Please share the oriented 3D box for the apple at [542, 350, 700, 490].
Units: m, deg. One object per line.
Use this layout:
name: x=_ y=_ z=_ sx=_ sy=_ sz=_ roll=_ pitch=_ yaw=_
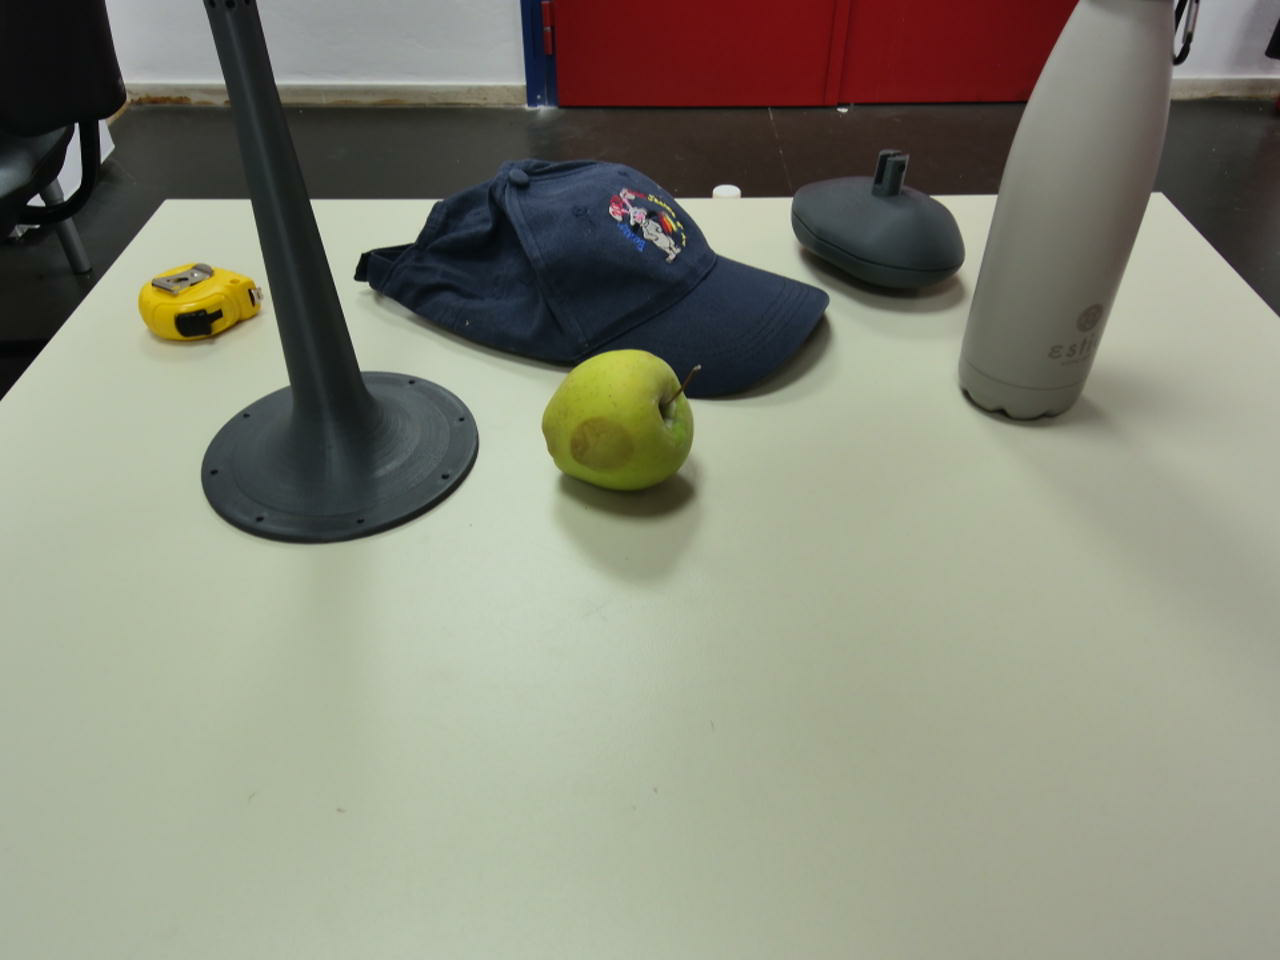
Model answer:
apple: x=-0.010 y=-0.033 z=0.524 sx=0.077 sy=0.075 sz=0.072 roll=32 pitch=48 yaw=33
